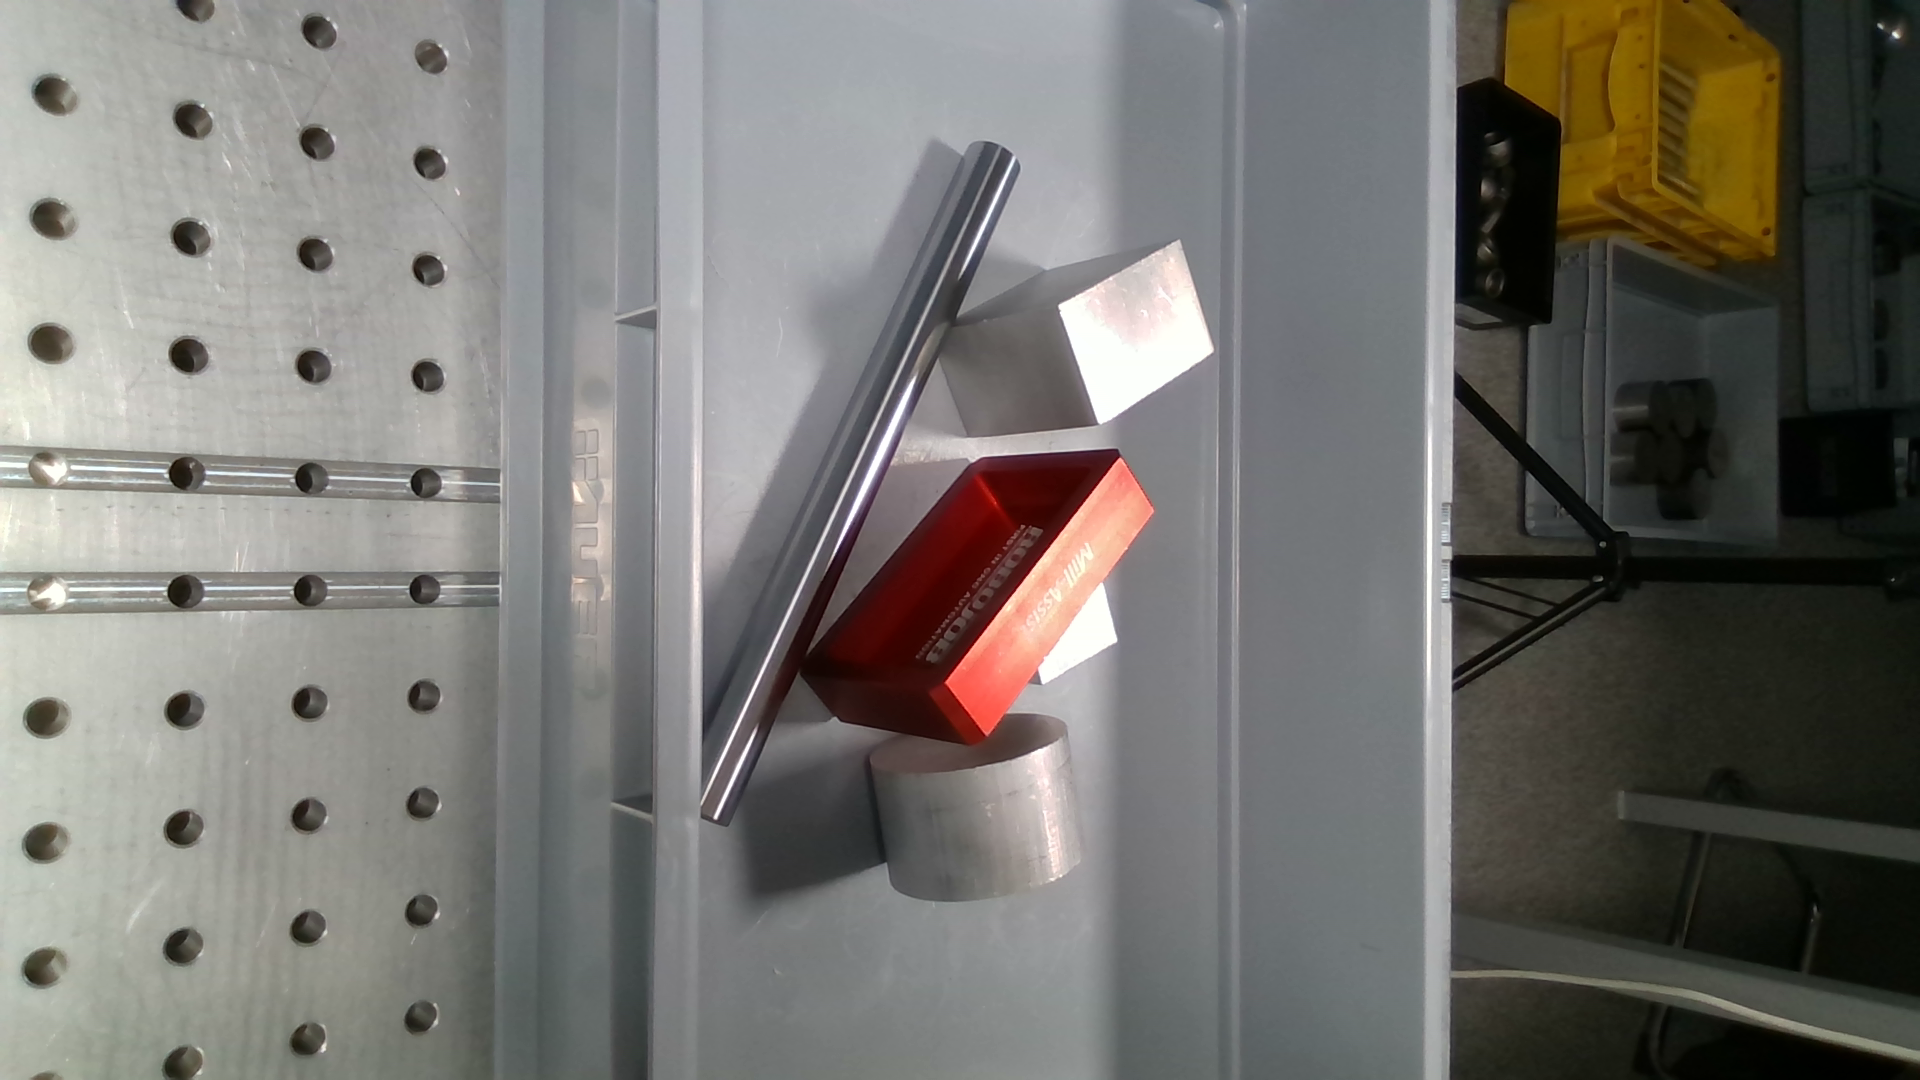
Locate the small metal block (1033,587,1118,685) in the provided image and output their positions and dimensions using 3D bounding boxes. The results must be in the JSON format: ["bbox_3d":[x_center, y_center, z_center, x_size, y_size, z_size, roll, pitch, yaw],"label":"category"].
[{"bbox_3d":[0.039,0.031,0.614,0.050,0.025,0.050,-26,106,-37],"label":"small metal block"}]

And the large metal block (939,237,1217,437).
[{"bbox_3d":[0.048,-0.085,0.586,0.080,0.080,0.050,-33,111,-35],"label":"large metal block"}]

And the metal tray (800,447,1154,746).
[{"bbox_3d":[0.007,0.018,0.544,0.130,0.090,0.030,-51,120,-28],"label":"metal tray"}]

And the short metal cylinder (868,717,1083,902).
[{"bbox_3d":[0.007,0.105,0.552,0.080,0.080,0.050,-15,99,-39],"label":"short metal cylinder"}]

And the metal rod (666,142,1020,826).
[{"bbox_3d":[-0.041,-0.032,0.547,0.025,0.025,0.299,36,68,-34],"label":"metal rod"}]
